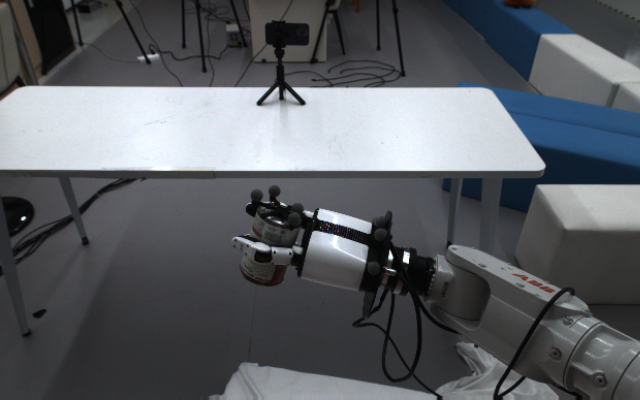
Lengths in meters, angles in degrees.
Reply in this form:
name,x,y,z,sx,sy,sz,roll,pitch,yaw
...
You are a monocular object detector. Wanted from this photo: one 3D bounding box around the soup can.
name,x,y,z,sx,sy,sz,roll,pitch,yaw
soup can,-0.070,0.065,0.698,0.067,0.101,0.067,17,21,-7
